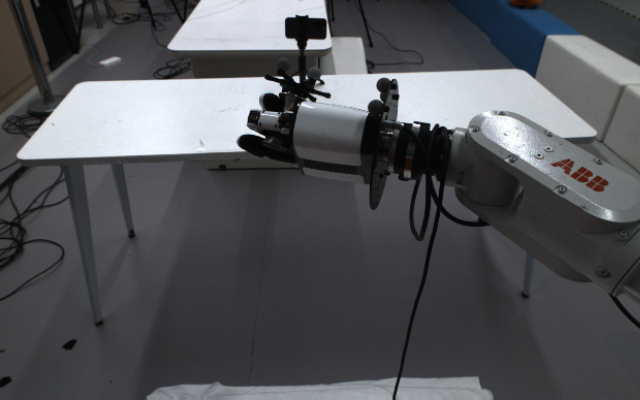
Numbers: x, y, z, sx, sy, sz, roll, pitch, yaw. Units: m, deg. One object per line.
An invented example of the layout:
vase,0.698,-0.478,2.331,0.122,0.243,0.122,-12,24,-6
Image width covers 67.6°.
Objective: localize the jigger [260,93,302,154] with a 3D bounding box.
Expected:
jigger,-0.044,-0.099,0.620,0.043,0.071,0.043,18,-6,2
